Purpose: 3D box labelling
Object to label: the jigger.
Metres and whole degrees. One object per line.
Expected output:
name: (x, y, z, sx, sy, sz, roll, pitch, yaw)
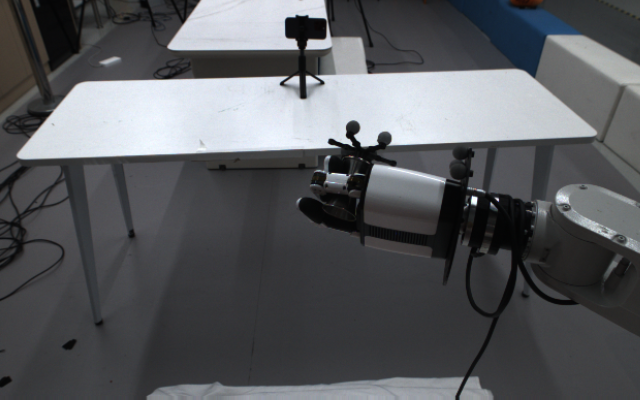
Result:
jigger: (0.032, -0.018, 0.584, 0.043, 0.043, 0.071, 16, 70, 19)
